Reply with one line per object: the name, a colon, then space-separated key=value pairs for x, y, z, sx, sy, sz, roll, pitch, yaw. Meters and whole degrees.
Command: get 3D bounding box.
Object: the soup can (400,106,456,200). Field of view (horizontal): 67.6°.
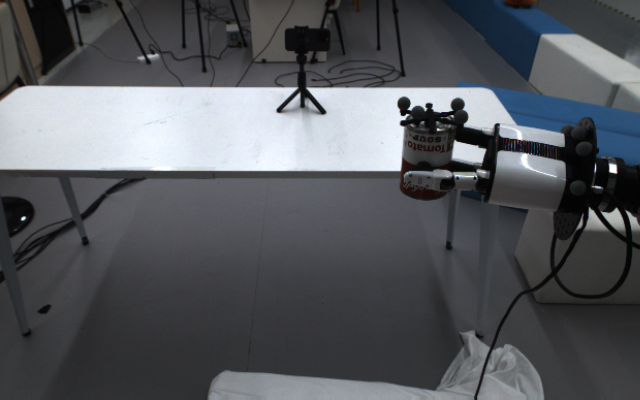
soup can: x=0.146 y=-0.062 z=0.656 sx=0.067 sy=0.101 sz=0.067 roll=-2 pitch=34 yaw=1
